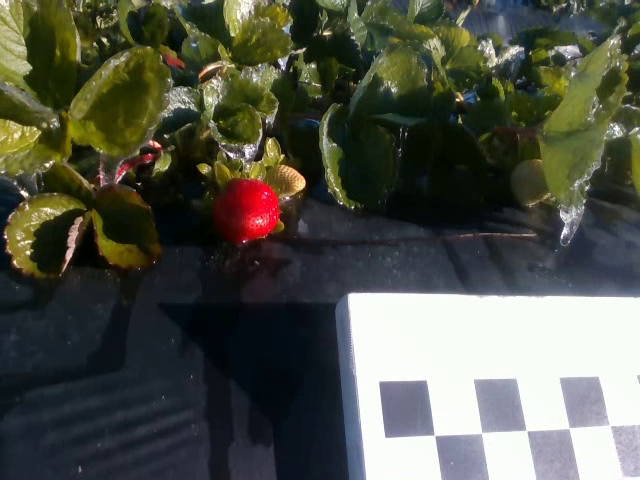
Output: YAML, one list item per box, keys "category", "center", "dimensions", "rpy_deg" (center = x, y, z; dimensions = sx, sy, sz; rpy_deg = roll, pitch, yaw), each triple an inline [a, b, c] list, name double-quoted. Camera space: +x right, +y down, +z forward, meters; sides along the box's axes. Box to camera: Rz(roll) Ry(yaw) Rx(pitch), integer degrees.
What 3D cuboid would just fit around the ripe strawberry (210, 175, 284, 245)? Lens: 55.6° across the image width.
- category: "ripe strawberry"
  center: [-0.028, -0.010, 0.246]
  dimensions: [0.039, 0.040, 0.039]
  rpy_deg: [-11, 8, -10]
